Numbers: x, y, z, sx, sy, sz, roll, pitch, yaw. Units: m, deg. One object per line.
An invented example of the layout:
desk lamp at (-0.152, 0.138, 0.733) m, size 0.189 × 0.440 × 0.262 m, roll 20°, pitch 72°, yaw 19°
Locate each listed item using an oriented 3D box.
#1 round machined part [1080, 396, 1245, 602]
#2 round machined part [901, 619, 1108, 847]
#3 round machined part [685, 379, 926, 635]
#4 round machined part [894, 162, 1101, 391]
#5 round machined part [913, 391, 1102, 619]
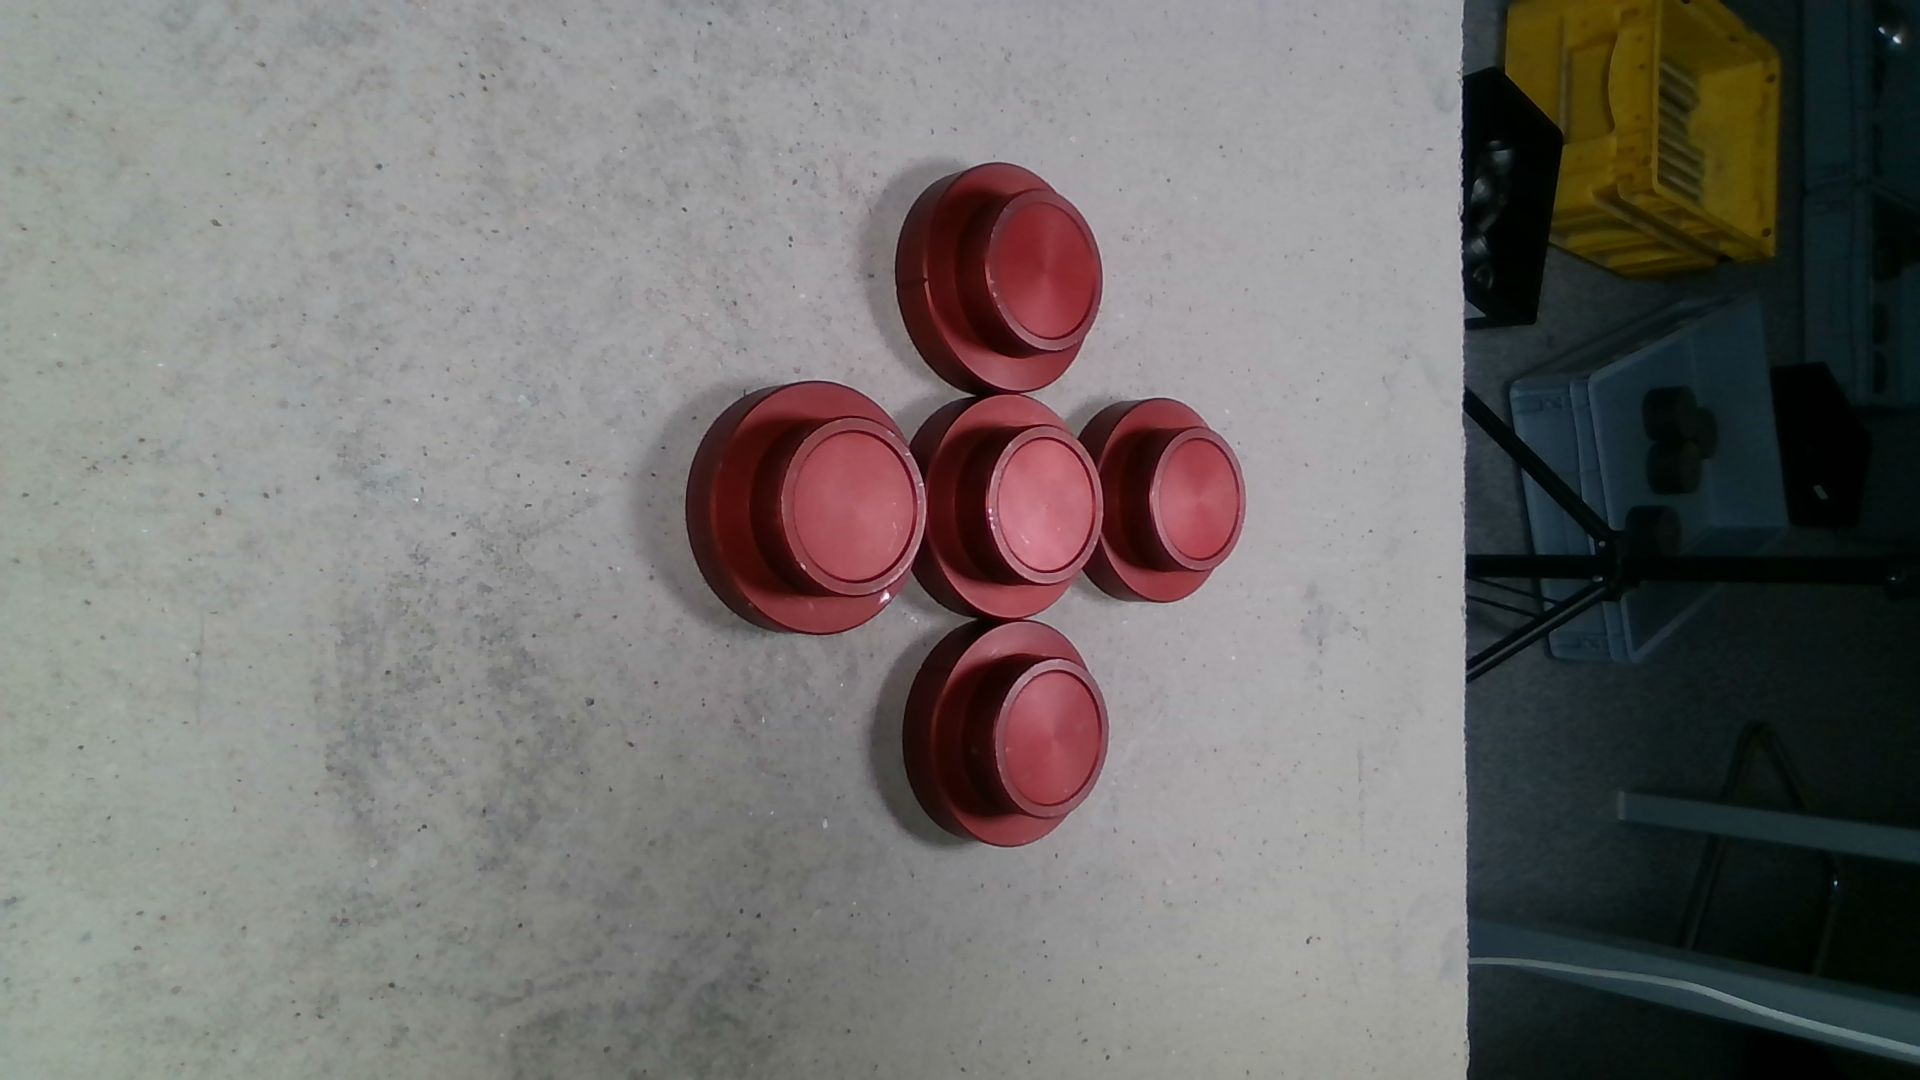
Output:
round machined part at (0.098, -0.019, 0.655) m, size 0.098 × 0.042 × 0.098 m, roll 0°, pitch 90°, yaw -40°
round machined part at (0.026, 0.083, 0.594) m, size 0.098 × 0.042 × 0.098 m, roll 0°, pitch 90°, yaw -40°
round machined part at (-0.052, -0.013, 0.528) m, size 0.098 × 0.042 × 0.098 m, roll 0°, pitch 90°, yaw -40°
round machined part at (0.023, -0.113, 0.591) m, size 0.098 × 0.042 × 0.098 m, roll 0°, pitch 90°, yaw -40°
round machined part at (0.023, -0.015, 0.592) m, size 0.098 × 0.042 × 0.098 m, roll 0°, pitch 90°, yaw -40°
